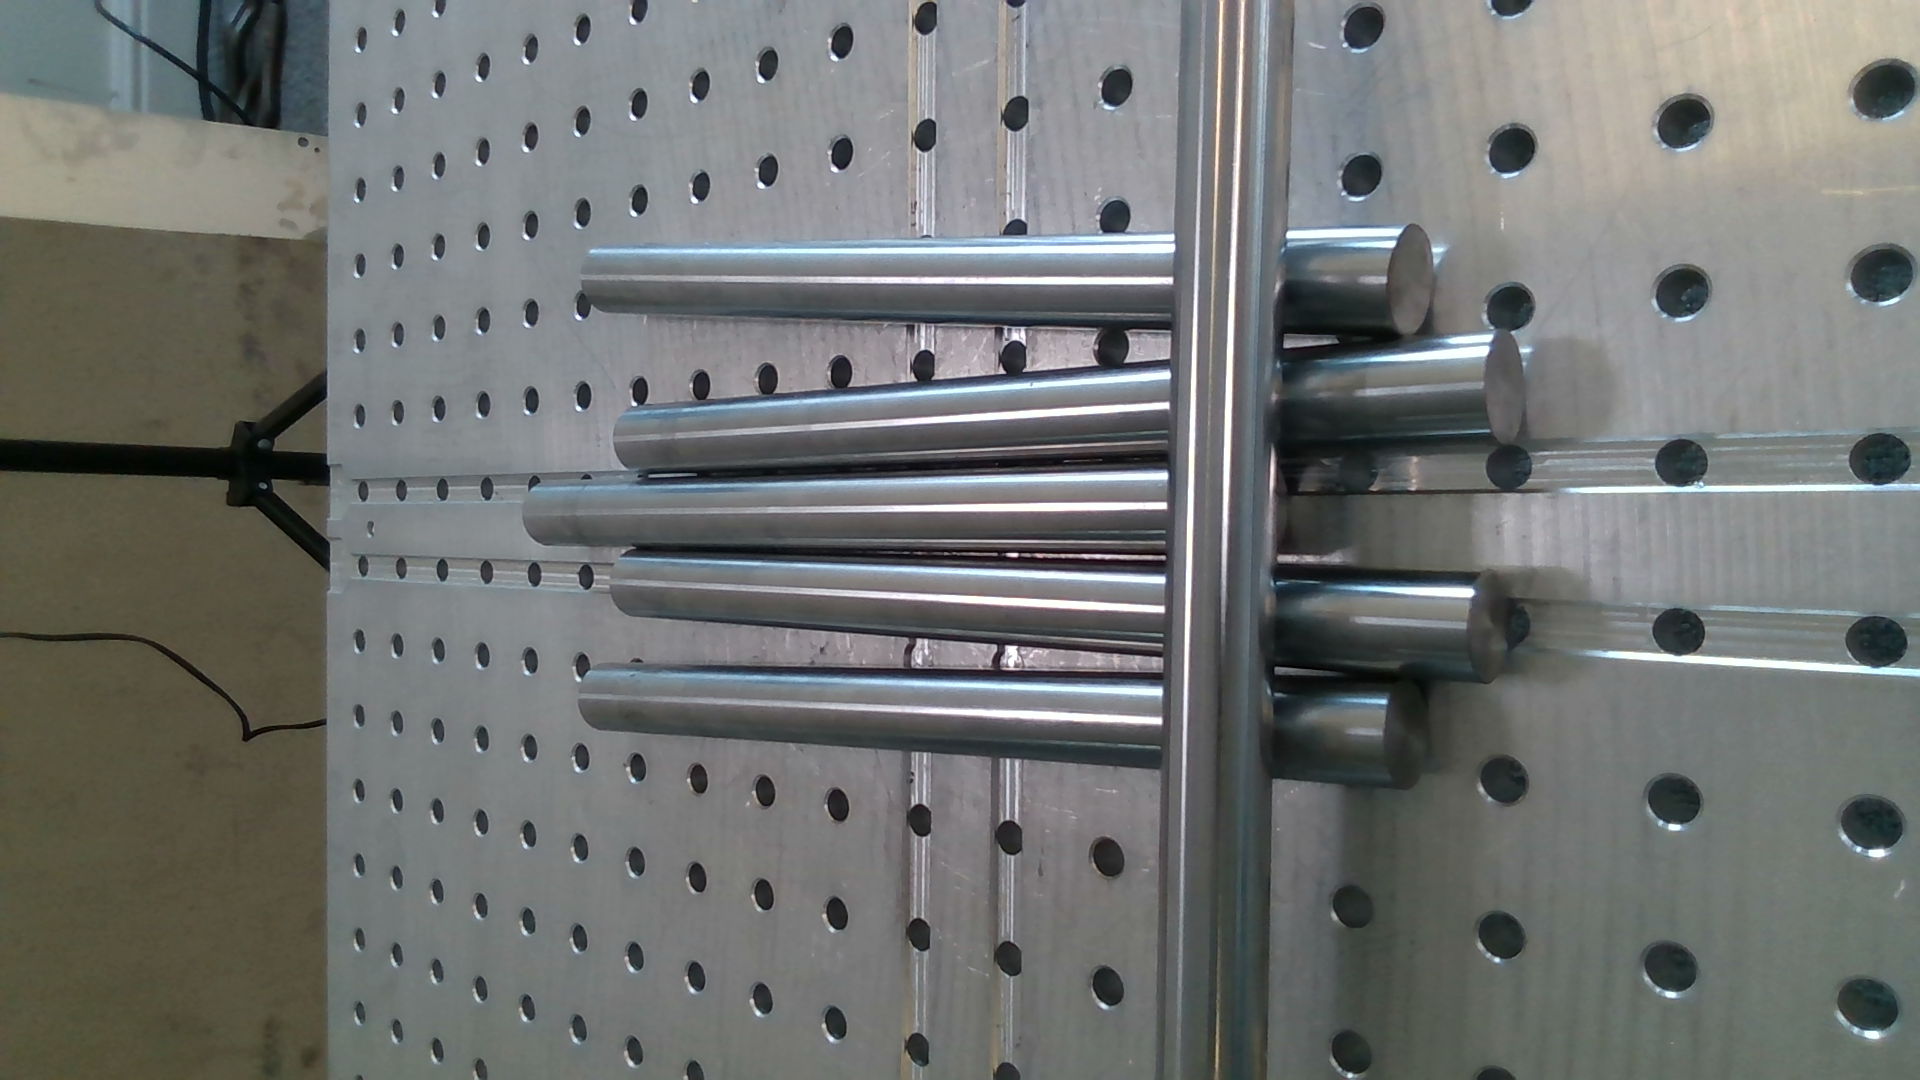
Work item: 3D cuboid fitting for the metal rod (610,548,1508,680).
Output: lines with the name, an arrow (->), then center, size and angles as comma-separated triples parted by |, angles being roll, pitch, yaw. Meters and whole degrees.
metal rod -> 0.000, 0.016, 0.395 | 0.300, 0.025, 0.025 | 1, 91, 40

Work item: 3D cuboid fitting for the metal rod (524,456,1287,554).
metal rod -> -0.041, -0.010, 0.428 | 0.300, 0.025, 0.025 | 1, 91, 40

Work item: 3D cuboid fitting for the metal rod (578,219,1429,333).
metal rod -> -0.014, -0.077, 0.403 | 0.300, 0.025, 0.025 | 9, 96, 40

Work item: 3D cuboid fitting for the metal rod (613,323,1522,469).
metal rod -> 0.002, -0.035, 0.392 | 0.300, 0.025, 0.025 | 1, 91, 40

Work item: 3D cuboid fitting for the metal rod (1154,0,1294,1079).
metal rod -> 0.059, 0.008, 0.311 | 0.025, 0.025, 0.300 | 3, 92, 40

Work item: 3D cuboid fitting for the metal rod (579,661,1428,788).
metal rod -> -0.014, 0.050, 0.406 | 0.300, 0.025, 0.025 | -3, 88, 40
